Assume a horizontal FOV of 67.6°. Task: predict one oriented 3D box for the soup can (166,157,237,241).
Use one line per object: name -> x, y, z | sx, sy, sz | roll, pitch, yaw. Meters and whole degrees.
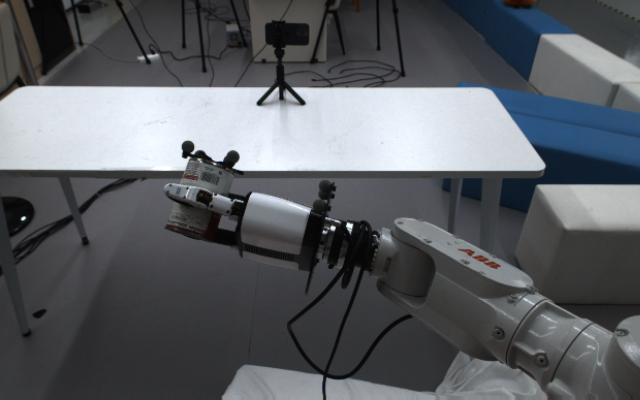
soup can -> -0.164, 0.002, 0.667 | 0.067, 0.067, 0.101 | 13, 79, 15
